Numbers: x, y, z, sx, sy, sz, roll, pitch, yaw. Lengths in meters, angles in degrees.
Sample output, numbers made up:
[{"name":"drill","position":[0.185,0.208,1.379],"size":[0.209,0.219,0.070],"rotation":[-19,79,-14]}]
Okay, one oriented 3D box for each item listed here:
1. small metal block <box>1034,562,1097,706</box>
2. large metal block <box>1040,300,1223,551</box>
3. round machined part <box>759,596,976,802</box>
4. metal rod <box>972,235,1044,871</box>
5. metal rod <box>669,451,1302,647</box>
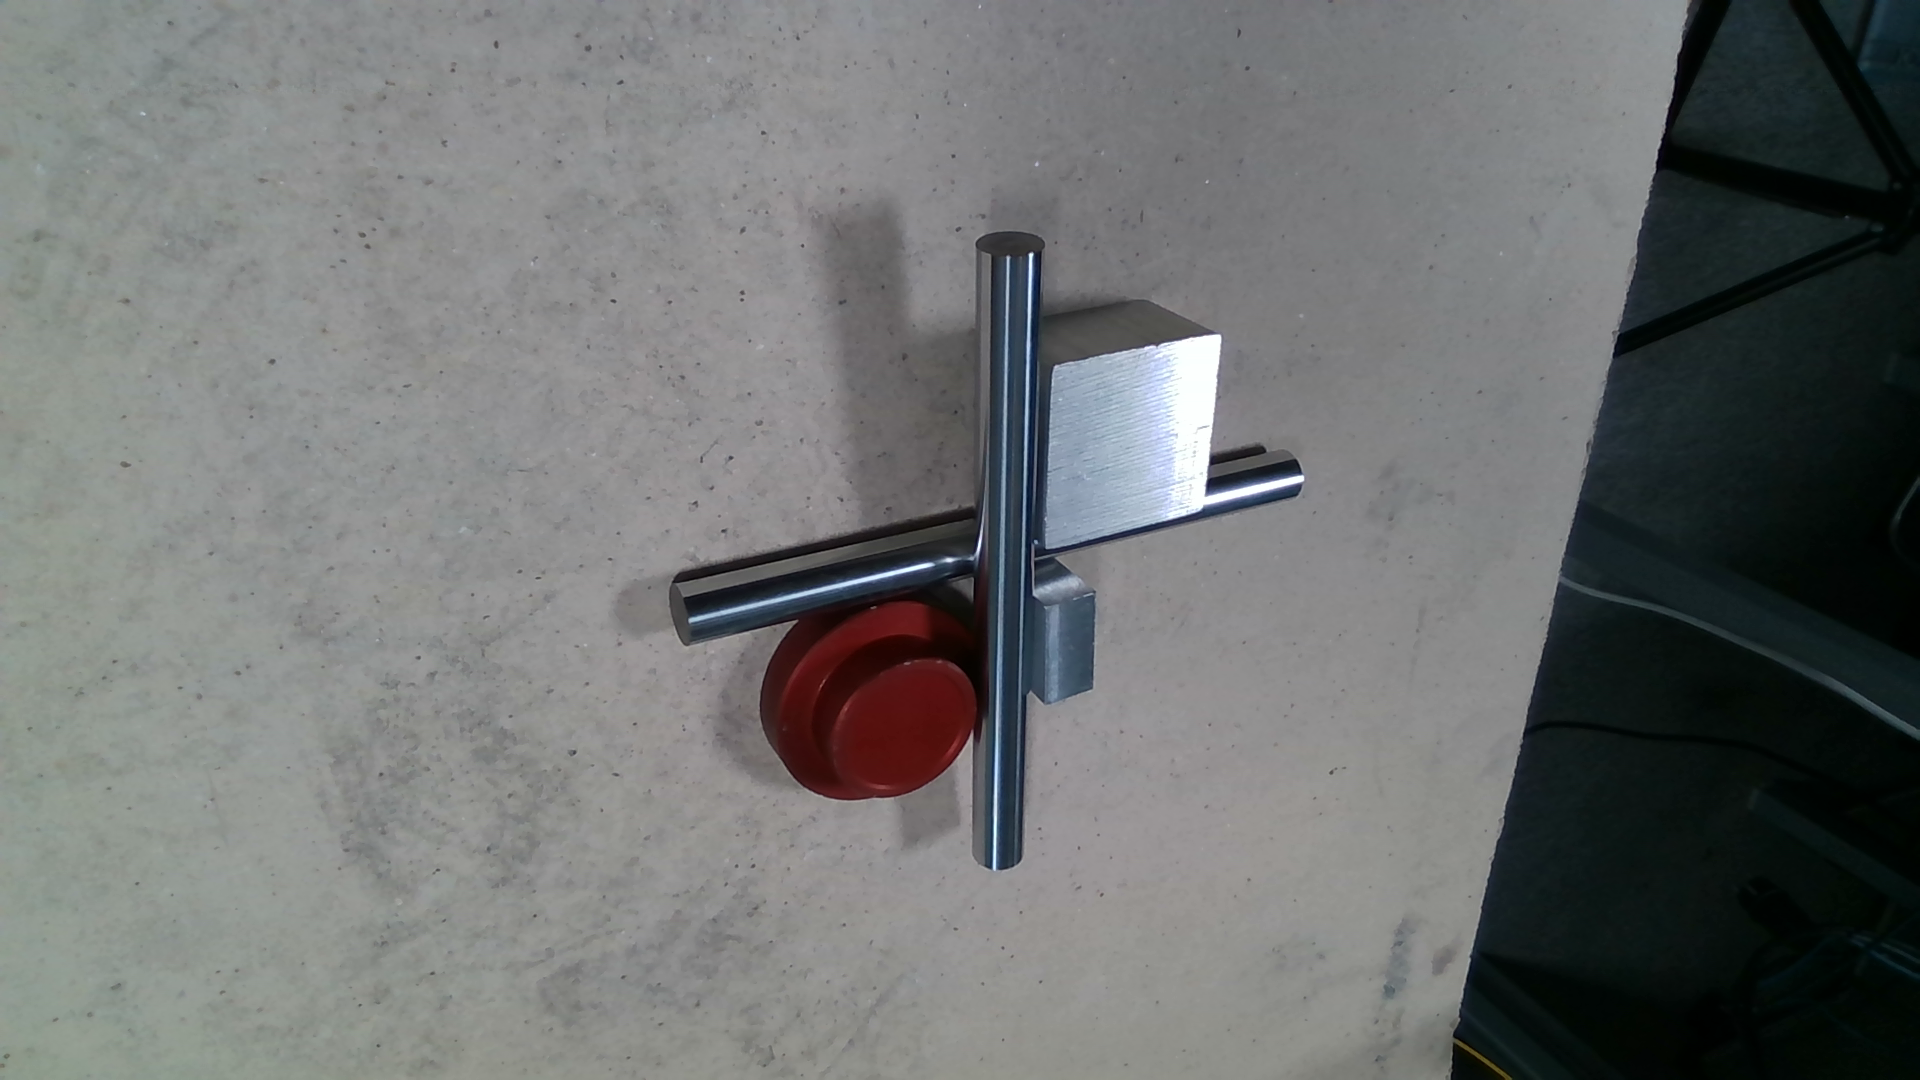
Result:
[{"name":"small metal block","position":[0.035,0.036,0.606],"size":[0.025,0.050,0.050],"rotation":[-16,122,-24]},{"name":"large metal block","position":[0.058,-0.050,0.573],"size":[0.080,0.050,0.080],"rotation":[-14,121,-25]},{"name":"round machined part","position":[-0.032,0.071,0.587],"size":[0.098,0.042,0.098],"rotation":[-14,122,-25]},{"name":"metal rod","position":[0.017,0.021,0.571],"size":[0.025,0.025,0.301],"rotation":[-16,126,-24]},{"name":"metal rod","position":[0.024,-0.001,0.595],"size":[0.300,0.025,0.025],"rotation":[-13,121,-26]}]
